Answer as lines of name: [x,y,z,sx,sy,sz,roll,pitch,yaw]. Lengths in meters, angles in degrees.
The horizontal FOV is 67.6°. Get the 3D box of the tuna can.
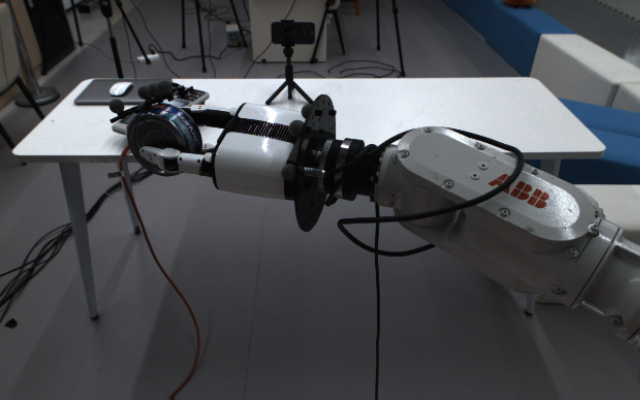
tuna can: [-0.188,-0.067,0.592,0.085,0.085,0.034,11,34,13]
